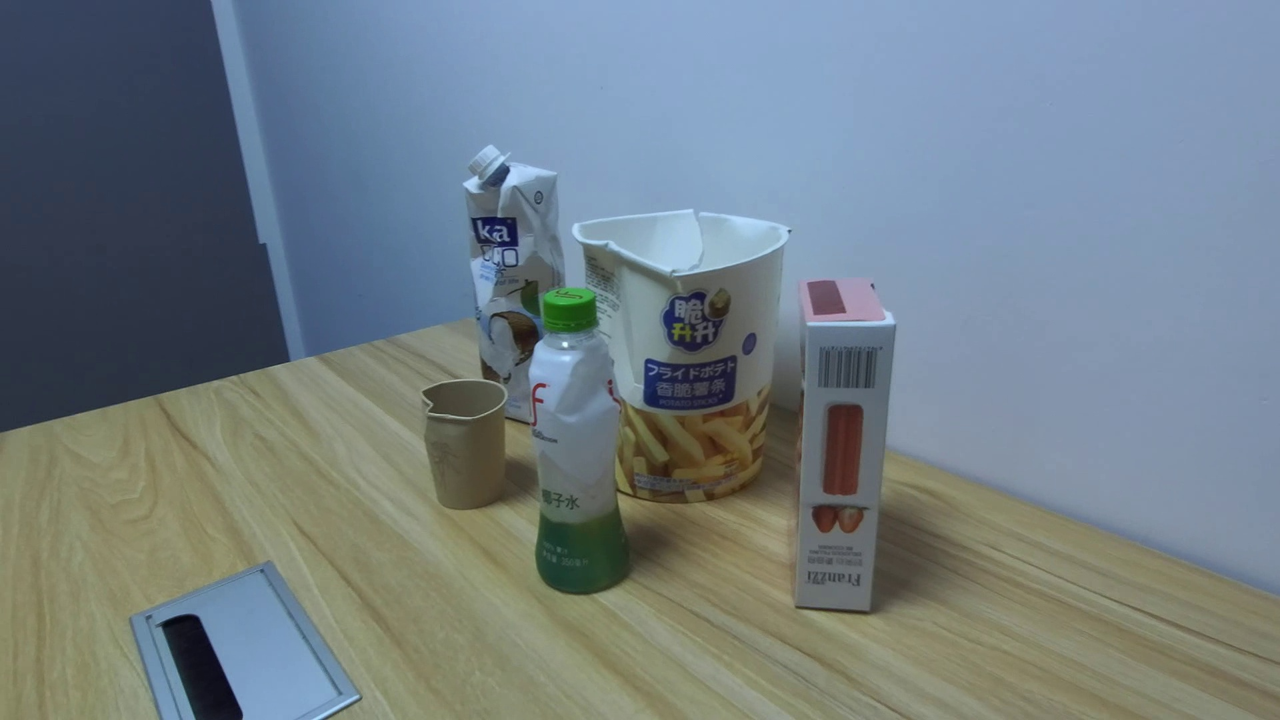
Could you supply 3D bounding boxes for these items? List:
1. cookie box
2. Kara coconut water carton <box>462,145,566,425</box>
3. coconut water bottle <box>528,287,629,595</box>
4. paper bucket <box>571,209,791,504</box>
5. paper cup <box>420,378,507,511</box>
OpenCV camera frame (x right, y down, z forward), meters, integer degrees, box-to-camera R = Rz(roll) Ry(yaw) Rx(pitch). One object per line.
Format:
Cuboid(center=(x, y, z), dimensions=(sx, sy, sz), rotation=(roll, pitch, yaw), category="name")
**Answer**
Cuboid(center=(0.121, 0.048, 0.438), dimensions=(0.049, 0.187, 0.105), rotation=(2, 21, 10), category="cookie box")
Cuboid(center=(-0.116, -0.070, 0.663), dimensions=(0.083, 0.256, 0.079), rotation=(19, 32, 40), category="Kara coconut water carton")
Cuboid(center=(-0.040, 0.051, 0.440), dimensions=(0.069, 0.186, 0.069), rotation=(-2, 23, 1), category="coconut water bottle")
Cuboid(center=(0.031, -0.010, 0.574), dimensions=(0.146, 0.197, 0.201), rotation=(-13, 25, -29), category="paper bucket")
Cuboid(center=(-0.135, 0.066, 0.552), dimensions=(0.073, 0.081, 0.069), rotation=(3, 21, 10), category="paper cup")
